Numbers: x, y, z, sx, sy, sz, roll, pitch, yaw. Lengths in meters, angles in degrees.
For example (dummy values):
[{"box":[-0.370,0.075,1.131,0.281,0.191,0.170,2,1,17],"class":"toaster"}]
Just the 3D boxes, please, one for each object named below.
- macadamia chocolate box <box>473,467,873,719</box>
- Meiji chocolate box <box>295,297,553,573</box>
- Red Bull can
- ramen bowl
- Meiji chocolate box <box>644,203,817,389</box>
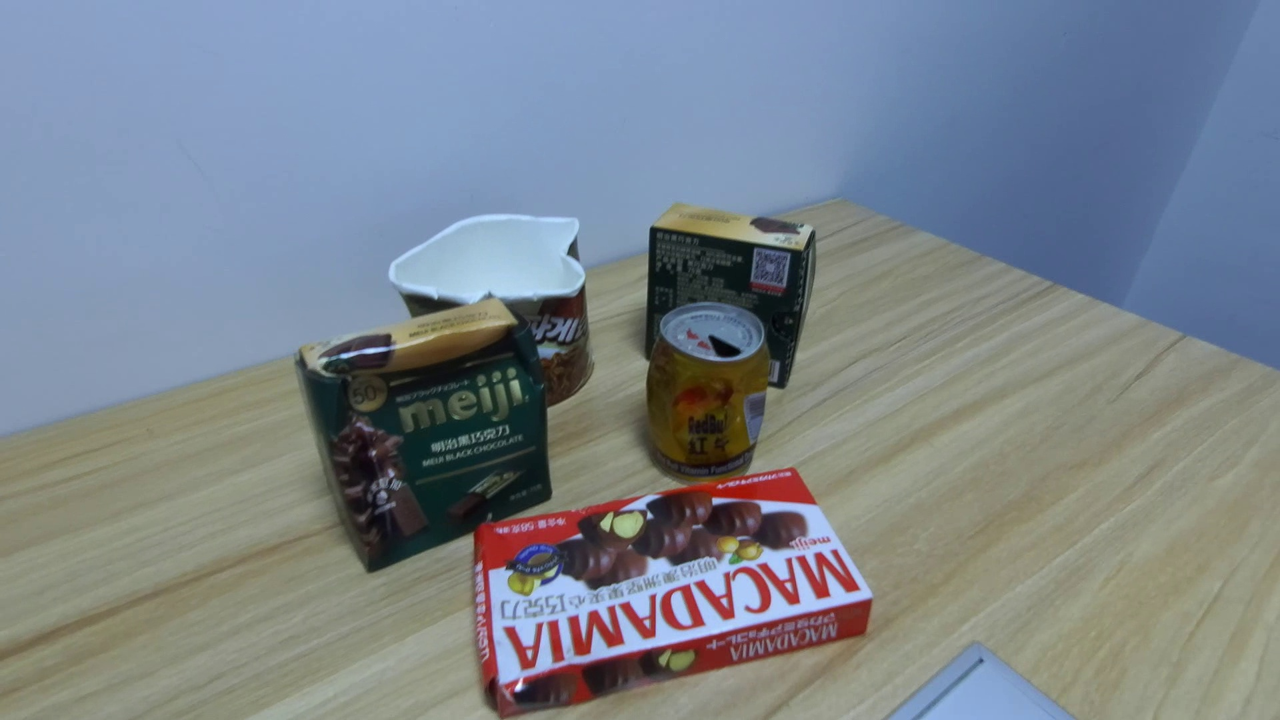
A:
[{"box":[0.012,0.107,0.353,0.183,0.028,0.105,-8,35,-11],"class":"macadamia chocolate box"},{"box":[-0.110,0.035,0.382,0.118,0.117,0.051,-18,29,-27],"class":"Meiji chocolate box"},{"box":[0.039,0.020,0.420,0.072,0.092,0.072,2,34,-1],"class":"Red Bull can"},{"box":[-0.099,-0.033,0.495,0.134,0.097,0.113,-5,36,-11],"class":"ramen bowl"},{"box":[0.065,-0.048,0.508,0.113,0.111,0.058,12,34,17],"class":"Meiji chocolate box"}]
